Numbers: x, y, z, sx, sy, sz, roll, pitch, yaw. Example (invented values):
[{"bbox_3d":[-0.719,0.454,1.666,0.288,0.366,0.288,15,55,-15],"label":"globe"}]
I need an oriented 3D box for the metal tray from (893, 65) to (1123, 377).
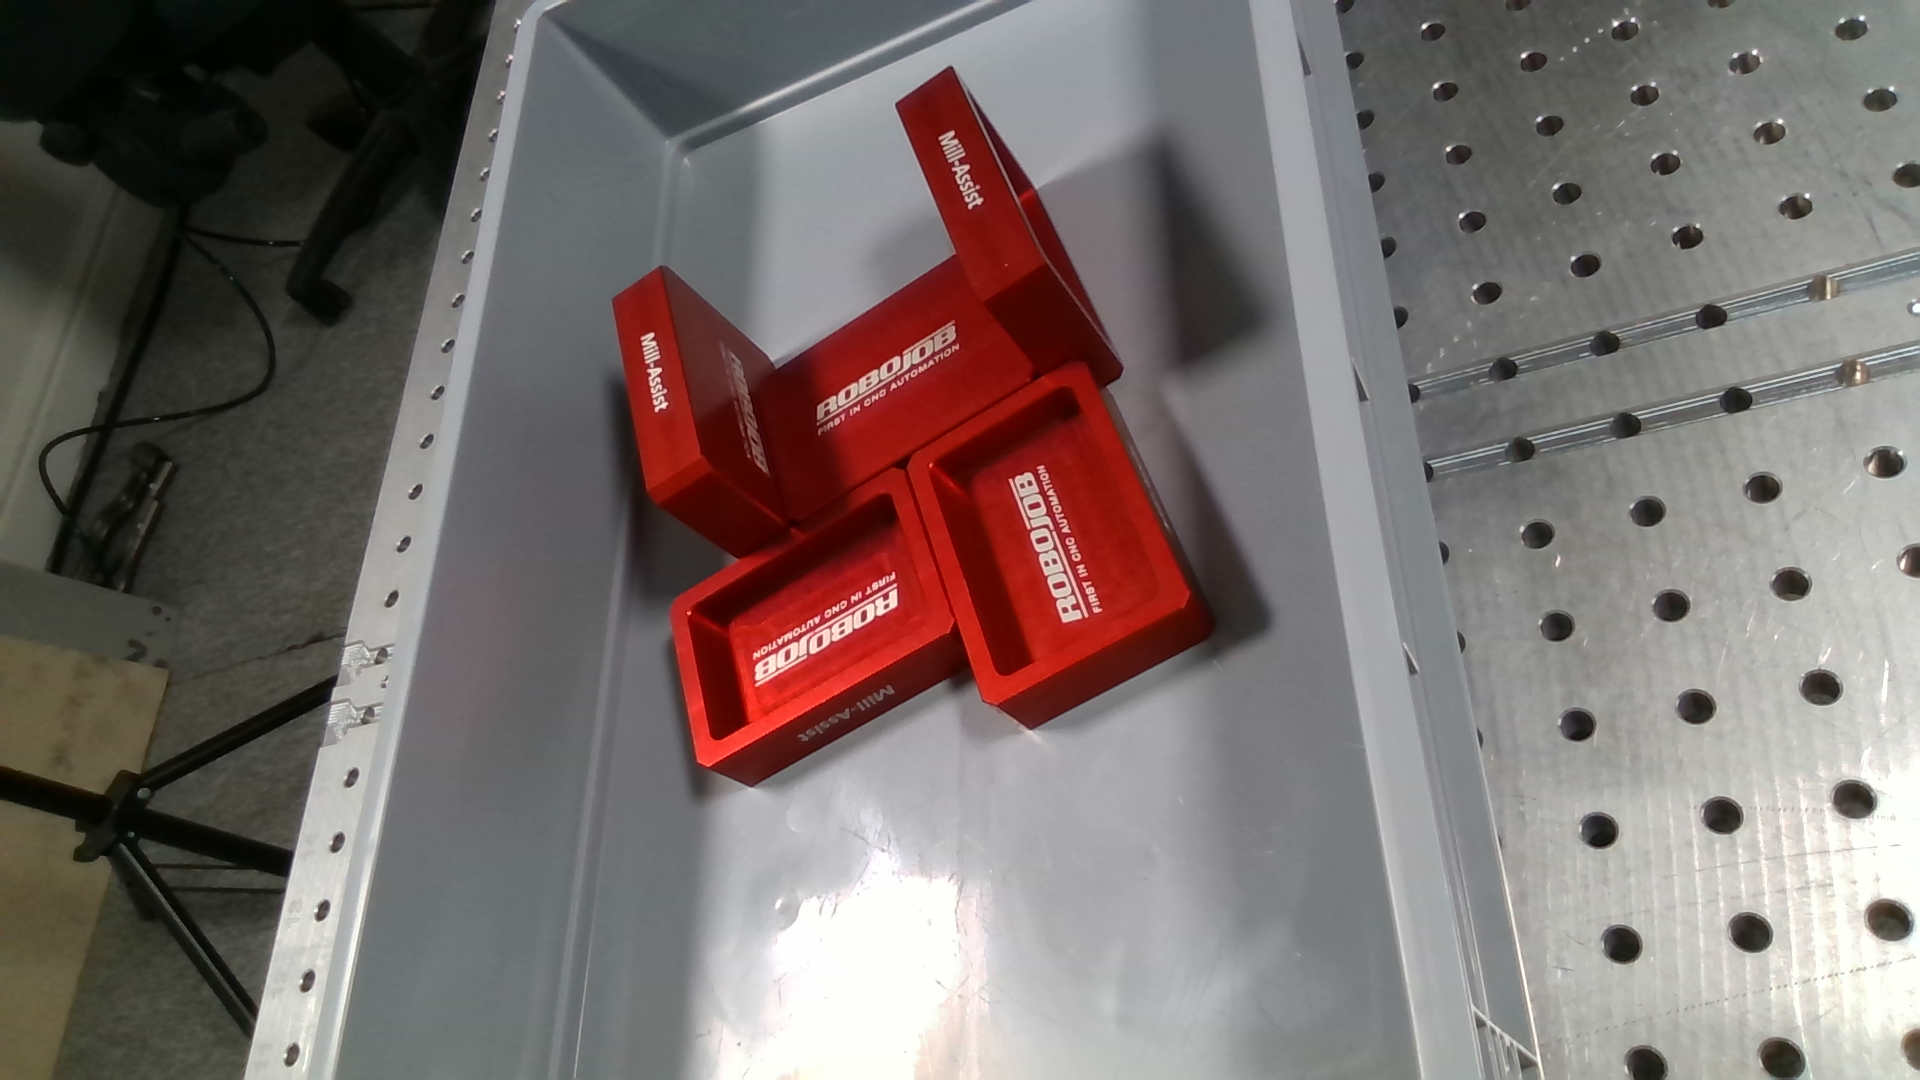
[{"bbox_3d":[0.021,-0.134,0.598,0.030,0.090,0.130,-30,53,15],"label":"metal tray"}]

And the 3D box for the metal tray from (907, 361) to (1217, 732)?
[{"bbox_3d":[0.037,0.000,0.557,0.090,0.030,0.130,-30,54,15],"label":"metal tray"}]

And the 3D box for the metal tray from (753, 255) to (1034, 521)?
[{"bbox_3d":[-0.028,-0.066,0.631,0.130,0.030,0.090,-30,53,15],"label":"metal tray"}]

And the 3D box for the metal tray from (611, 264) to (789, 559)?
[{"bbox_3d":[-0.114,-0.055,0.640,0.030,0.090,0.130,-30,53,15],"label":"metal tray"}]

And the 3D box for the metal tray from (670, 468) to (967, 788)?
[{"bbox_3d":[-0.060,0.038,0.597,0.130,0.030,0.090,-30,53,15],"label":"metal tray"}]
